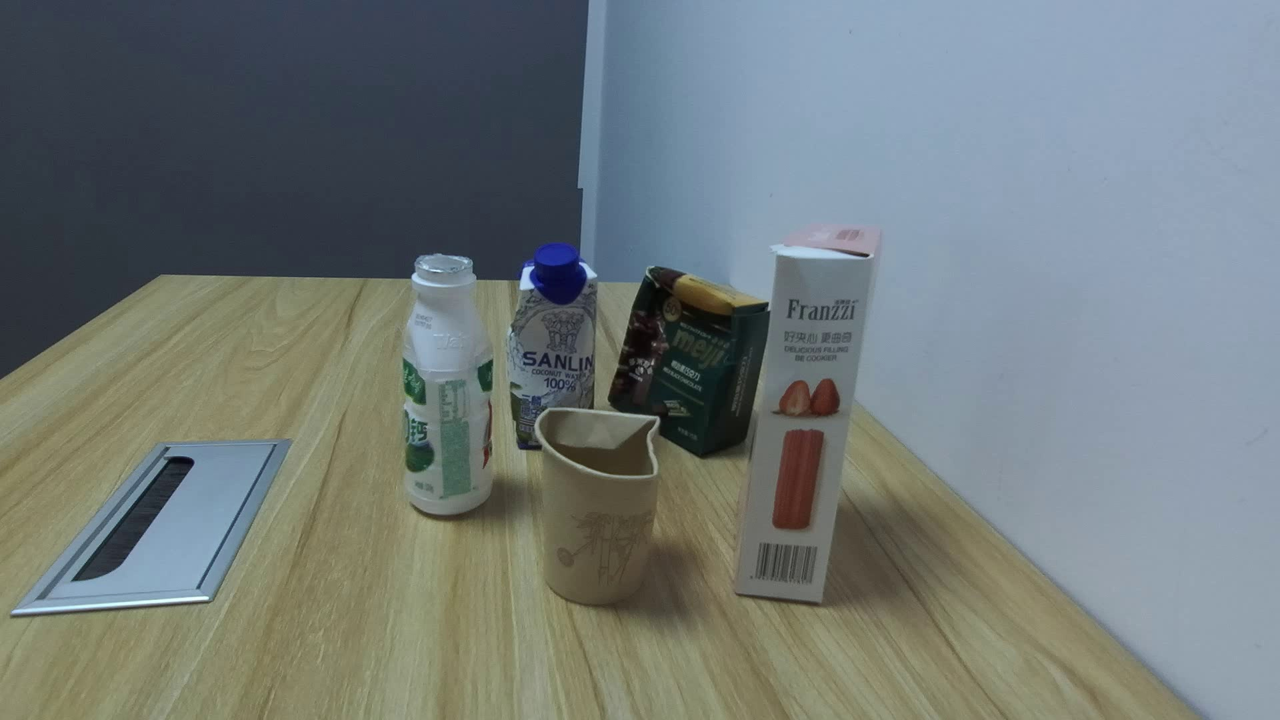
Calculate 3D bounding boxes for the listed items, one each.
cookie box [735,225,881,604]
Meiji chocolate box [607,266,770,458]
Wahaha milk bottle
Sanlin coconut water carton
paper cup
[{"bbox_3d":[0.087,0.024,0.379,0.055,0.184,0.118,10,21,12],"label":"cookie box"},{"bbox_3d":[0.040,-0.002,0.558,0.113,0.110,0.058,22,23,7],"label":"Meiji chocolate box"},{"bbox_3d":[-0.110,0.016,0.408,0.055,0.149,0.055,5,21,-2],"label":"Wahaha milk bottle"},{"bbox_3d":[-0.061,-0.012,0.492,0.061,0.143,0.069,-1,21,-11],"label":"Sanlin coconut water carton"},{"bbox_3d":[-0.024,0.075,0.362,0.066,0.084,0.071,6,22,2],"label":"paper cup"}]
